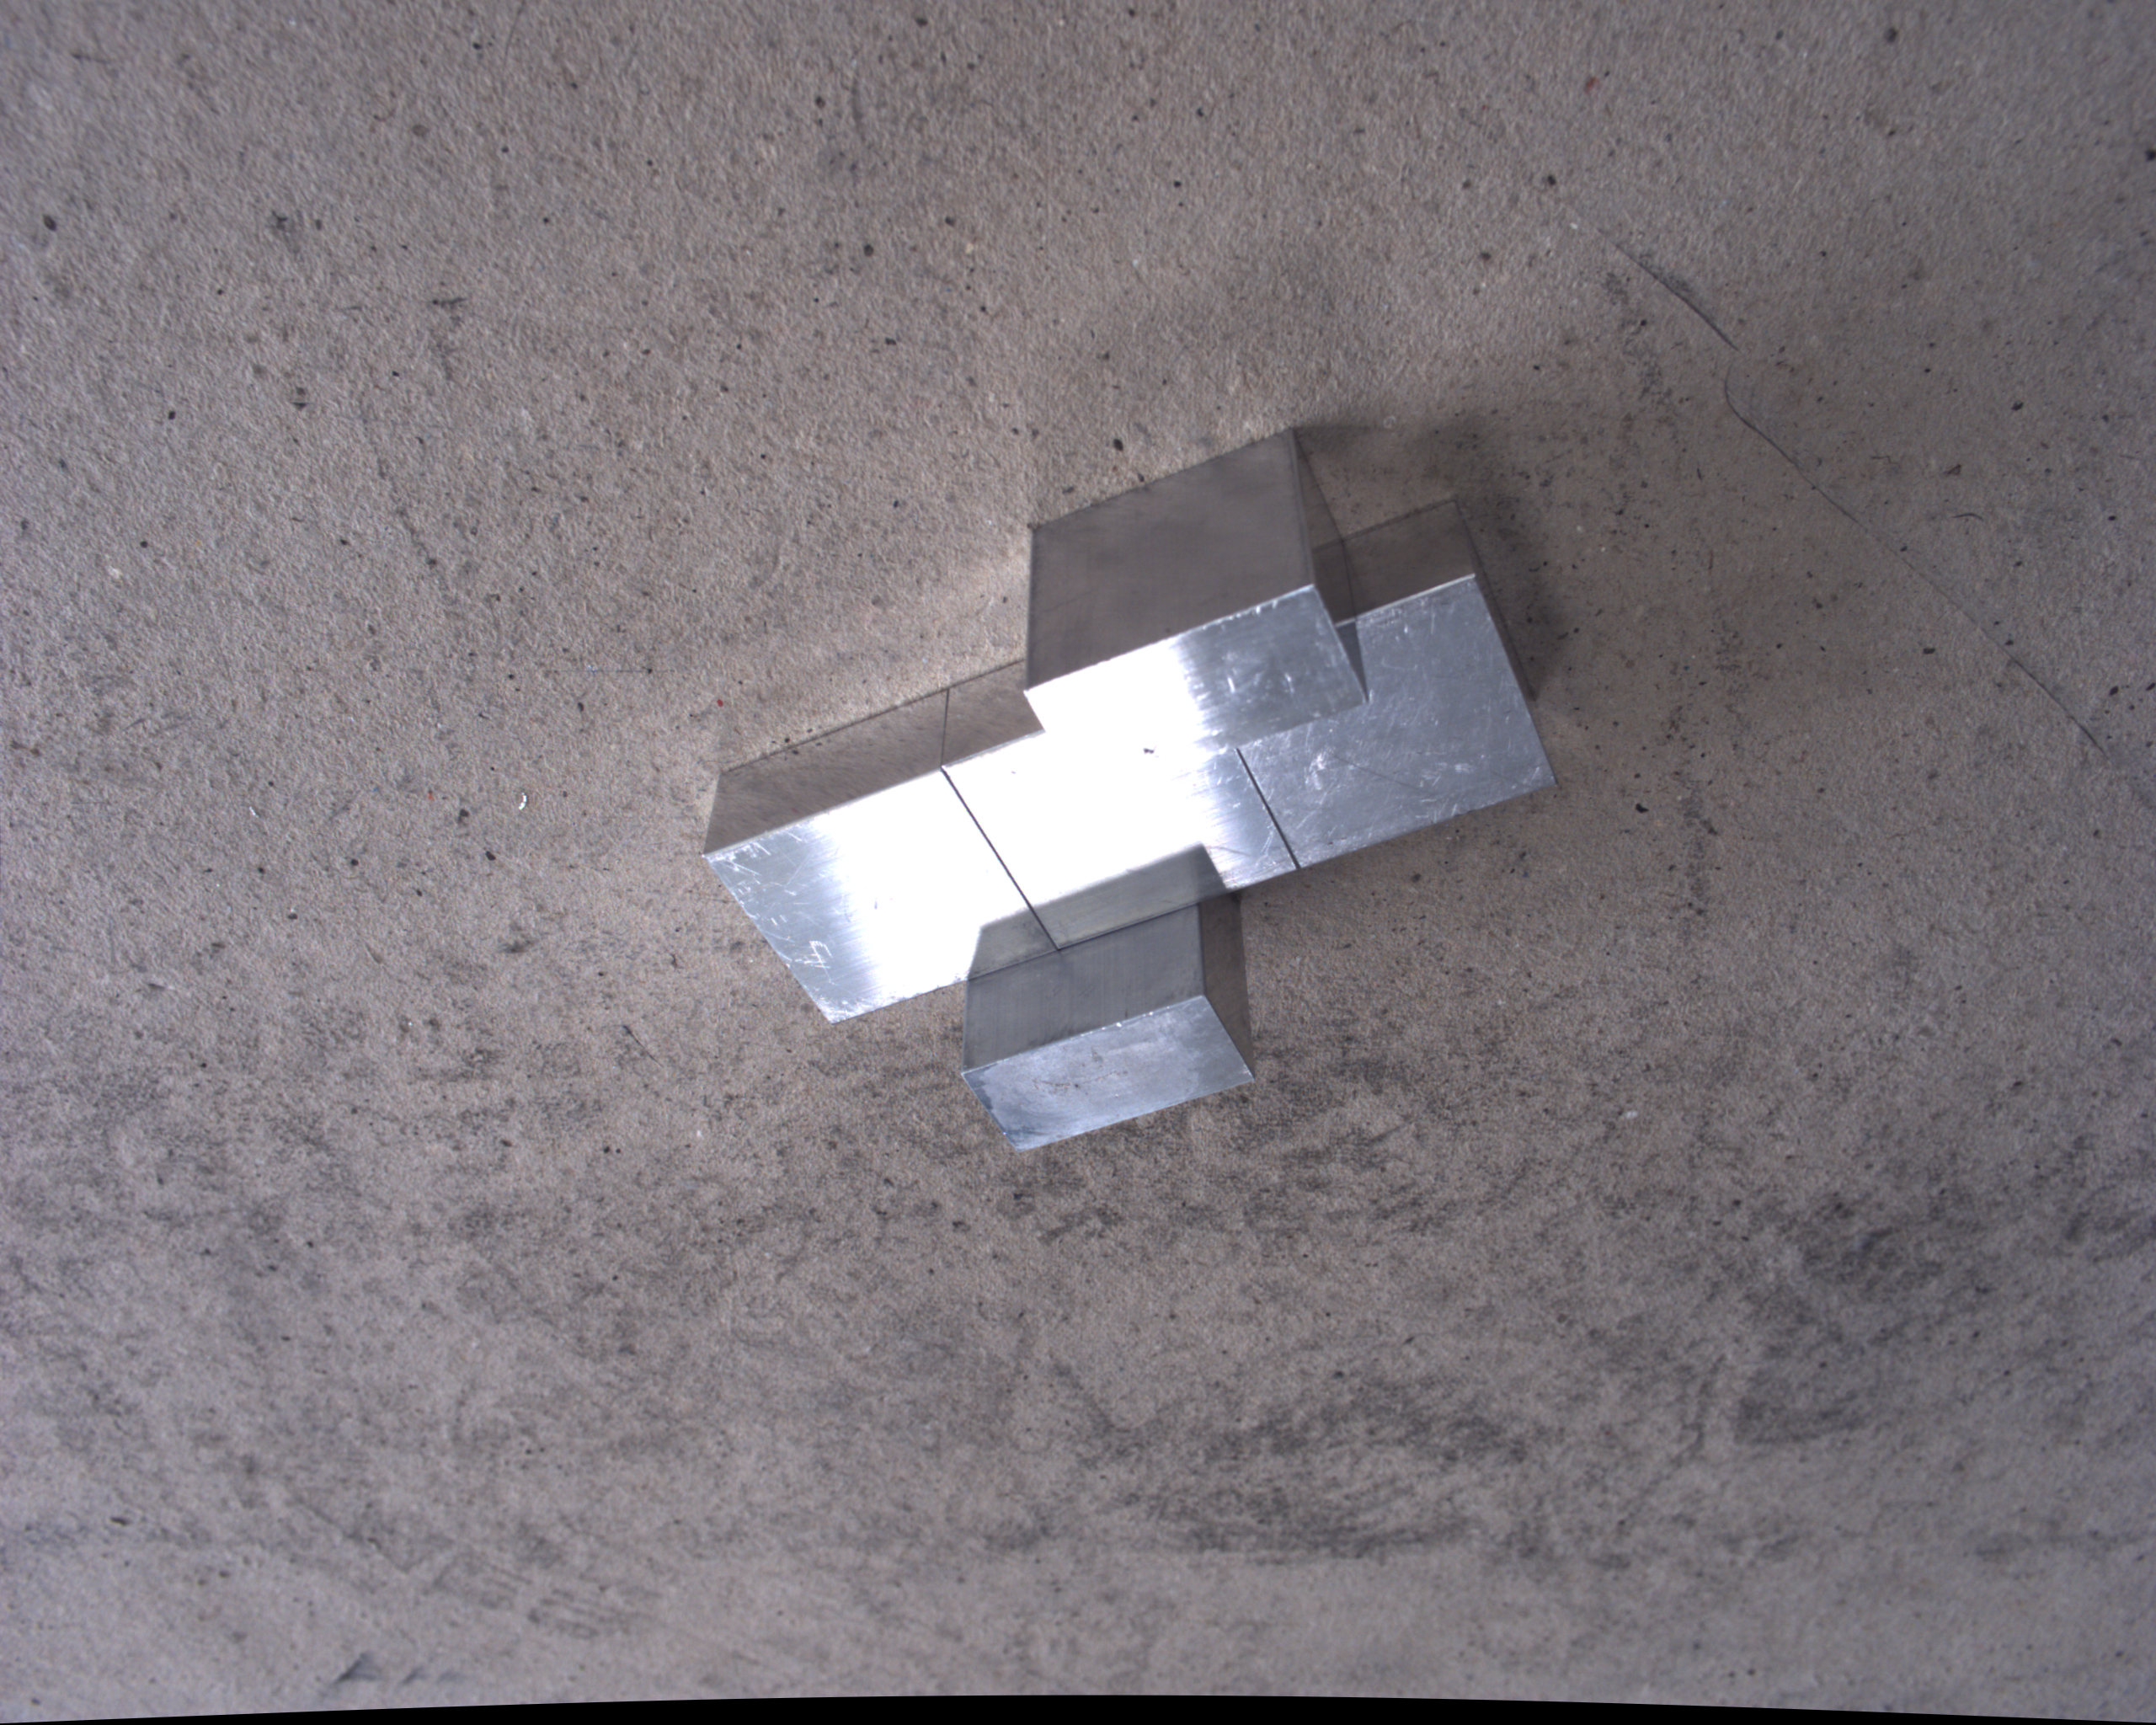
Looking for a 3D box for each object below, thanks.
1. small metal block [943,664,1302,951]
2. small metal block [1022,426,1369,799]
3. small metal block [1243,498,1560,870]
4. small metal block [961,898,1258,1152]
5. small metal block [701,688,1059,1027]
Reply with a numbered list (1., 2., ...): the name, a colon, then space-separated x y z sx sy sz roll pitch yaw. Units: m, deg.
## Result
1. small metal block: 0.009 -0.016 0.395 0.050 0.025 0.050 -19 128 15
2. small metal block: 0.019 -0.043 0.356 0.050 0.050 0.025 -18 128 16
3. small metal block: 0.055 -0.032 0.382 0.050 0.025 0.050 -19 128 15
4. small metal block: 0.006 0.024 0.413 0.050 0.050 0.025 -19 127 16
5. small metal block: -0.037 0.000 0.408 0.050 0.025 0.050 -19 128 15
